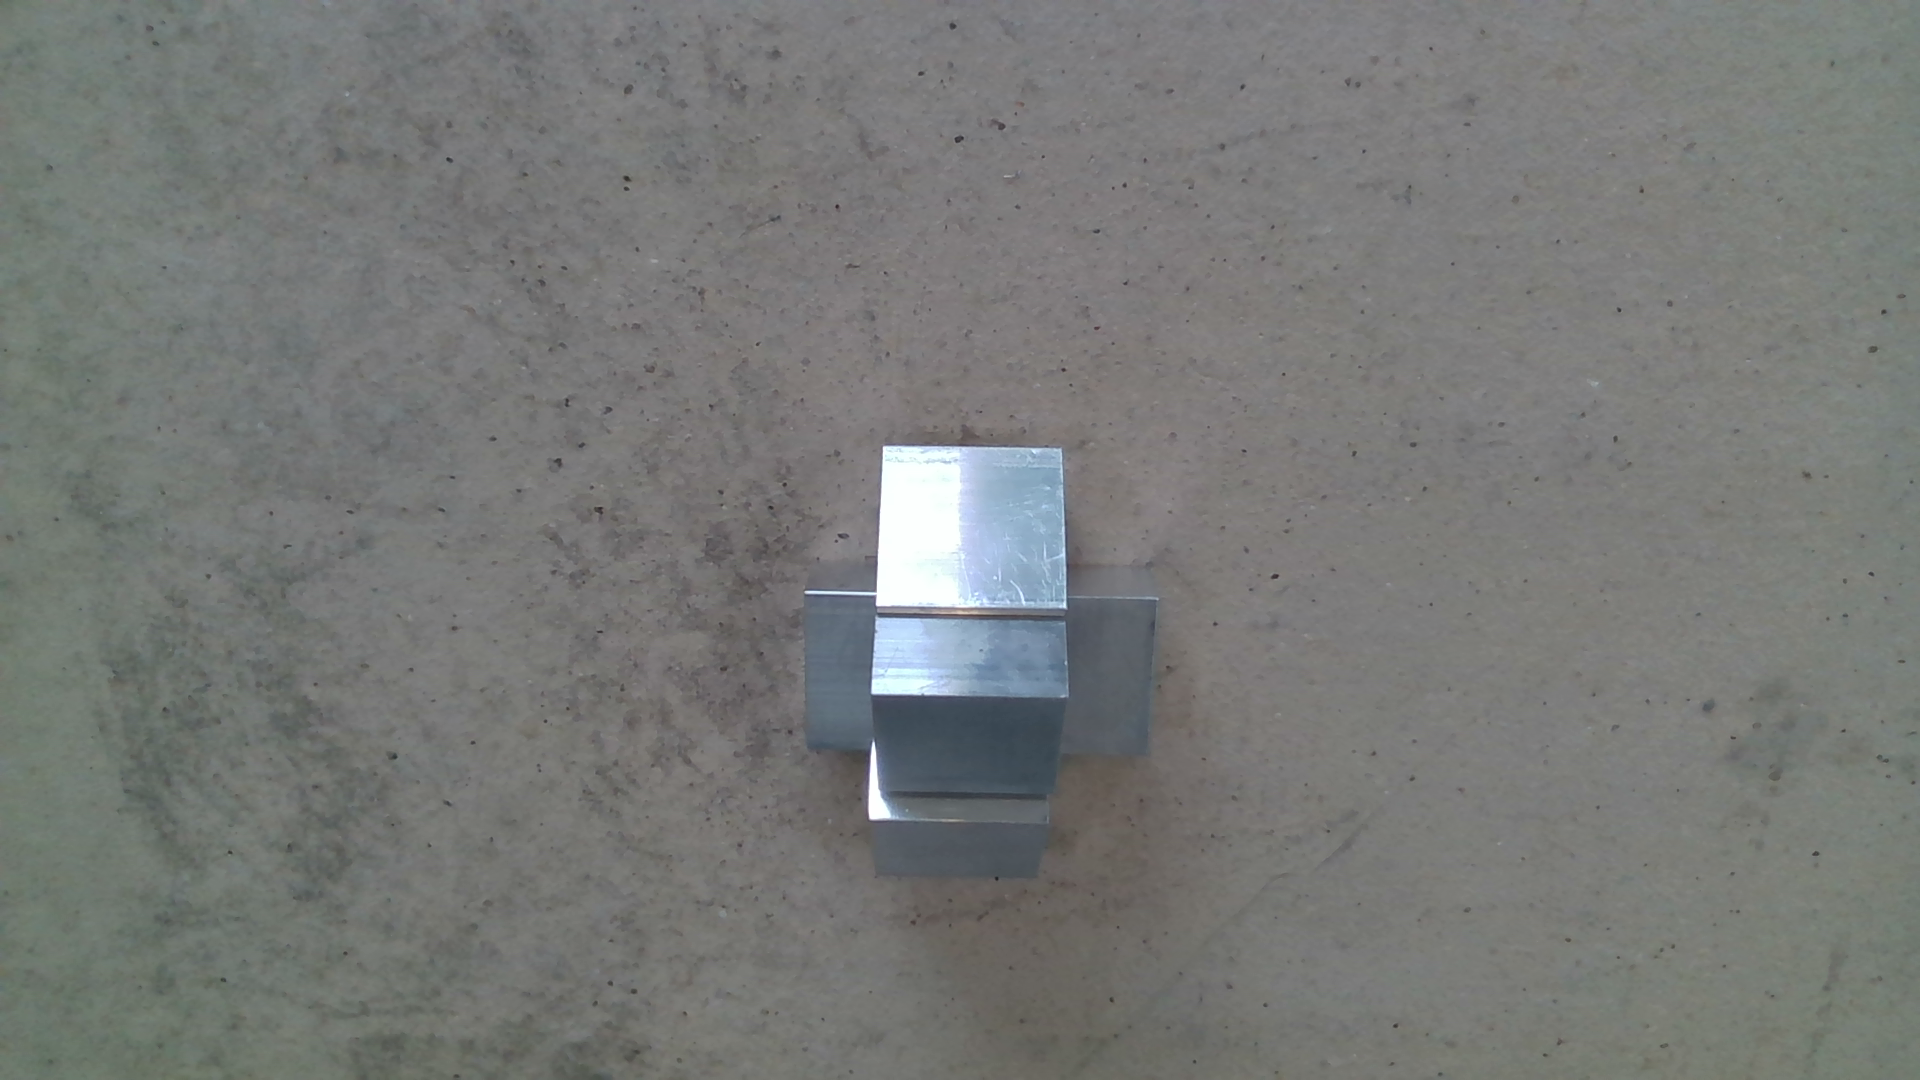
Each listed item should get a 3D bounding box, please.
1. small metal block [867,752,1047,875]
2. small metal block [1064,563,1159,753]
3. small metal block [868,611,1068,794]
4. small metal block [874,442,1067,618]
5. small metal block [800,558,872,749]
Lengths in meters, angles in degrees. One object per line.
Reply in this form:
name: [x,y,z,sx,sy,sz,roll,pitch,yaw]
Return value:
small metal block: [-0.001,0.079,0.409,0.050,0.025,0.050,1,150,0]
small metal block: [0.030,0.034,0.406,0.050,0.025,0.050,1,110,0]
small metal block: [0.002,0.045,0.371,0.050,0.025,0.050,1,141,0]
small metal block: [0.003,0.001,0.379,0.050,0.050,0.025,1,152,0]
small metal block: [-0.020,0.033,0.406,0.050,0.025,0.050,1,110,0]
